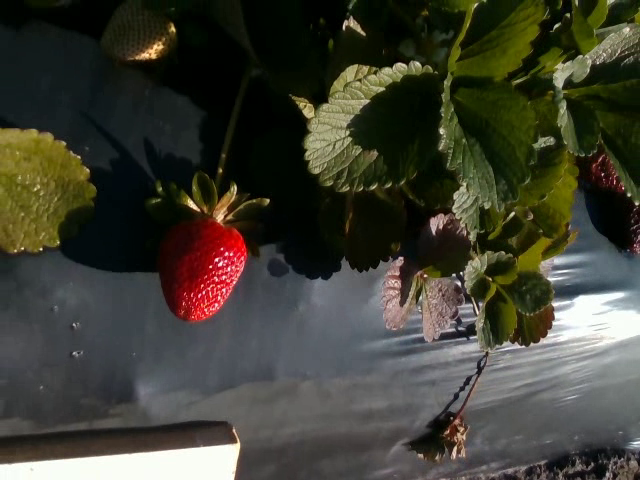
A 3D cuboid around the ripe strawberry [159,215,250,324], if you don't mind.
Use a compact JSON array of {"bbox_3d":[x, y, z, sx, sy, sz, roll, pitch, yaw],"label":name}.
[{"bbox_3d":[-0.053,0.016,0.268,0.043,0.050,0.042,-17,-45,34],"label":"ripe strawberry"}]
